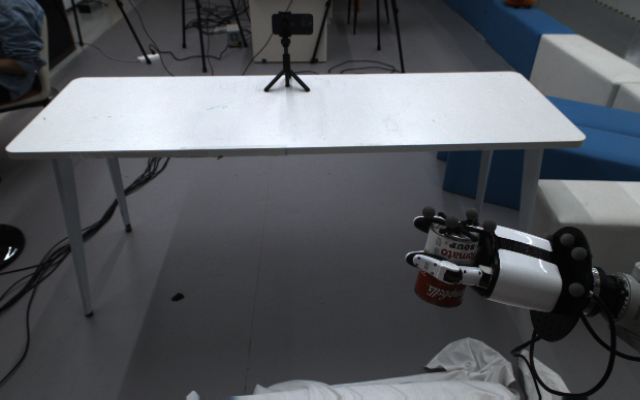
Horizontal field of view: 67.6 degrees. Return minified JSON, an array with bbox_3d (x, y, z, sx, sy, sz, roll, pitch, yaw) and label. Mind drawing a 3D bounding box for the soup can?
[{"bbox_3d":[0.175,0.086,0.665,0.067,0.101,0.067,9,19,-3],"label":"soup can"}]
